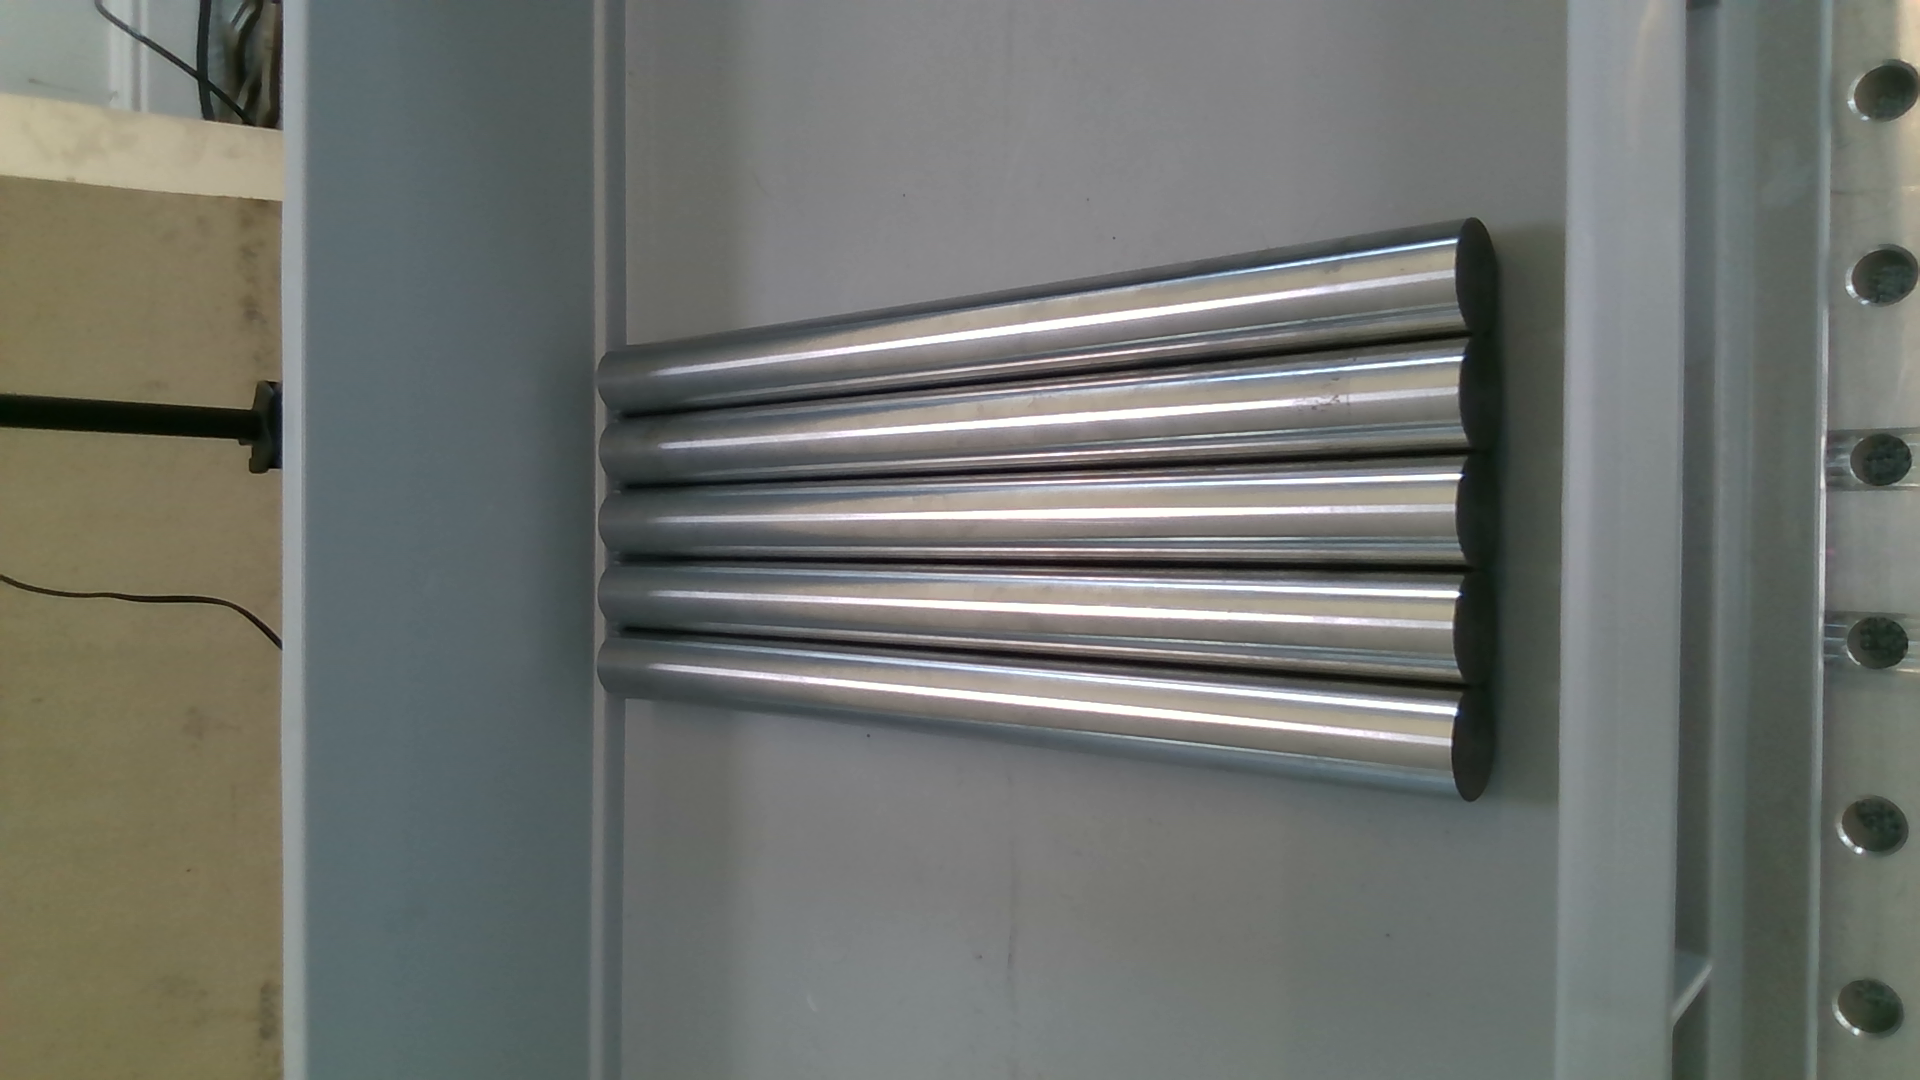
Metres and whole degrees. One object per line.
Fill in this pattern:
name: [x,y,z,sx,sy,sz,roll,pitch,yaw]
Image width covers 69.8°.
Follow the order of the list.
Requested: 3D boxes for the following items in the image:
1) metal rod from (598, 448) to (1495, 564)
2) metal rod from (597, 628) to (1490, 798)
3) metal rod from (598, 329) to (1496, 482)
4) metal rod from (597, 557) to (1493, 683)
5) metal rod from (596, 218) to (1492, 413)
metal rod: [-0.004,-0.007,0.393,0.300,0.025,0.025,0,90,40]
metal rod: [-0.004,0.043,0.394,0.300,0.025,0.025,0,90,40]
metal rod: [-0.004,-0.033,0.393,0.300,0.025,0.025,0,90,40]
metal rod: [-0.004,0.018,0.393,0.300,0.025,0.025,0,90,40]
metal rod: [-0.004,-0.057,0.393,0.300,0.025,0.025,0,90,40]
